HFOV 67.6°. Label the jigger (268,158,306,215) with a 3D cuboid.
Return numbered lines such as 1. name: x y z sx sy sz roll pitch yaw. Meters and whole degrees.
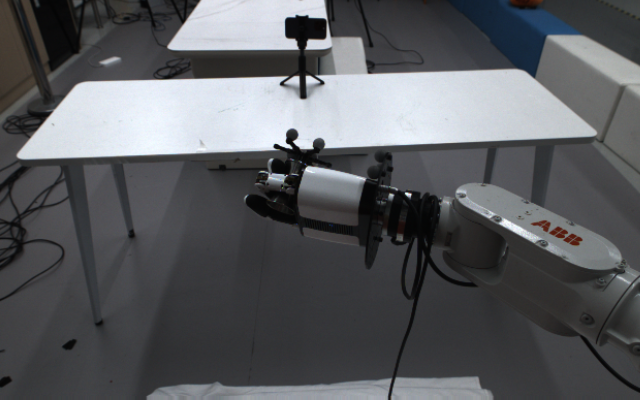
1. jigger: -0.042 -0.020 0.679 0.043 0.043 0.071 15 71 18
